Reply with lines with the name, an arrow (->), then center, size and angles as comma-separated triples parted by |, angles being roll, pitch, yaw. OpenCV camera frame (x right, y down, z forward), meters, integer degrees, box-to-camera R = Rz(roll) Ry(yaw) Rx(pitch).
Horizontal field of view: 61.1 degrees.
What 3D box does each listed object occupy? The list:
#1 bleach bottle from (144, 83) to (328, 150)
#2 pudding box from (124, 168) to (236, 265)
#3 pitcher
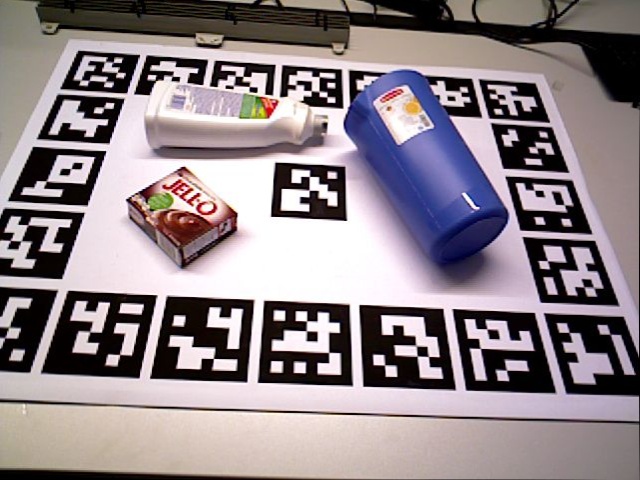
bleach bottle -> -0.113, -0.172, 0.766 | 0.249, 0.069, 0.101 | 2, 58, -7
pudding box -> -0.173, -0.033, 0.669 | 0.088, 0.039, 0.113 | -33, 65, -32
pitcher -> 0.146, -0.080, 0.705 | 0.186, 0.136, 0.241 | 6, 50, -47
